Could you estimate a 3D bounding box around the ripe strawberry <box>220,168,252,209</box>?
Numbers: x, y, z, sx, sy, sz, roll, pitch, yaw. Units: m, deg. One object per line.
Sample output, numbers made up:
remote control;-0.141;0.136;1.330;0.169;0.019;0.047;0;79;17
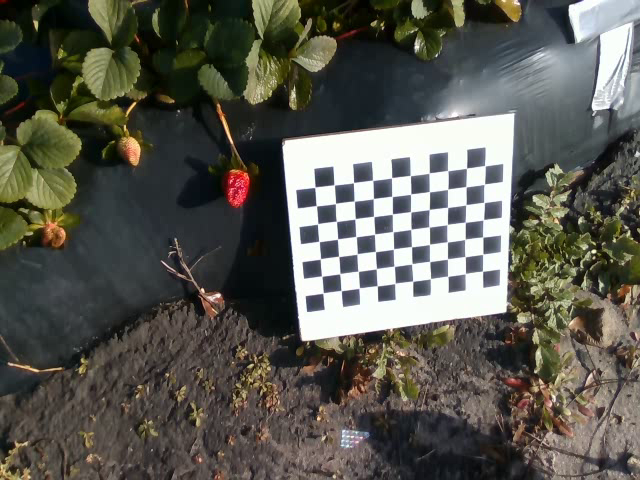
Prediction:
ripe strawberry;-0.038;-0.023;0.288;0.015;0.023;0.015;0;-32;-9
